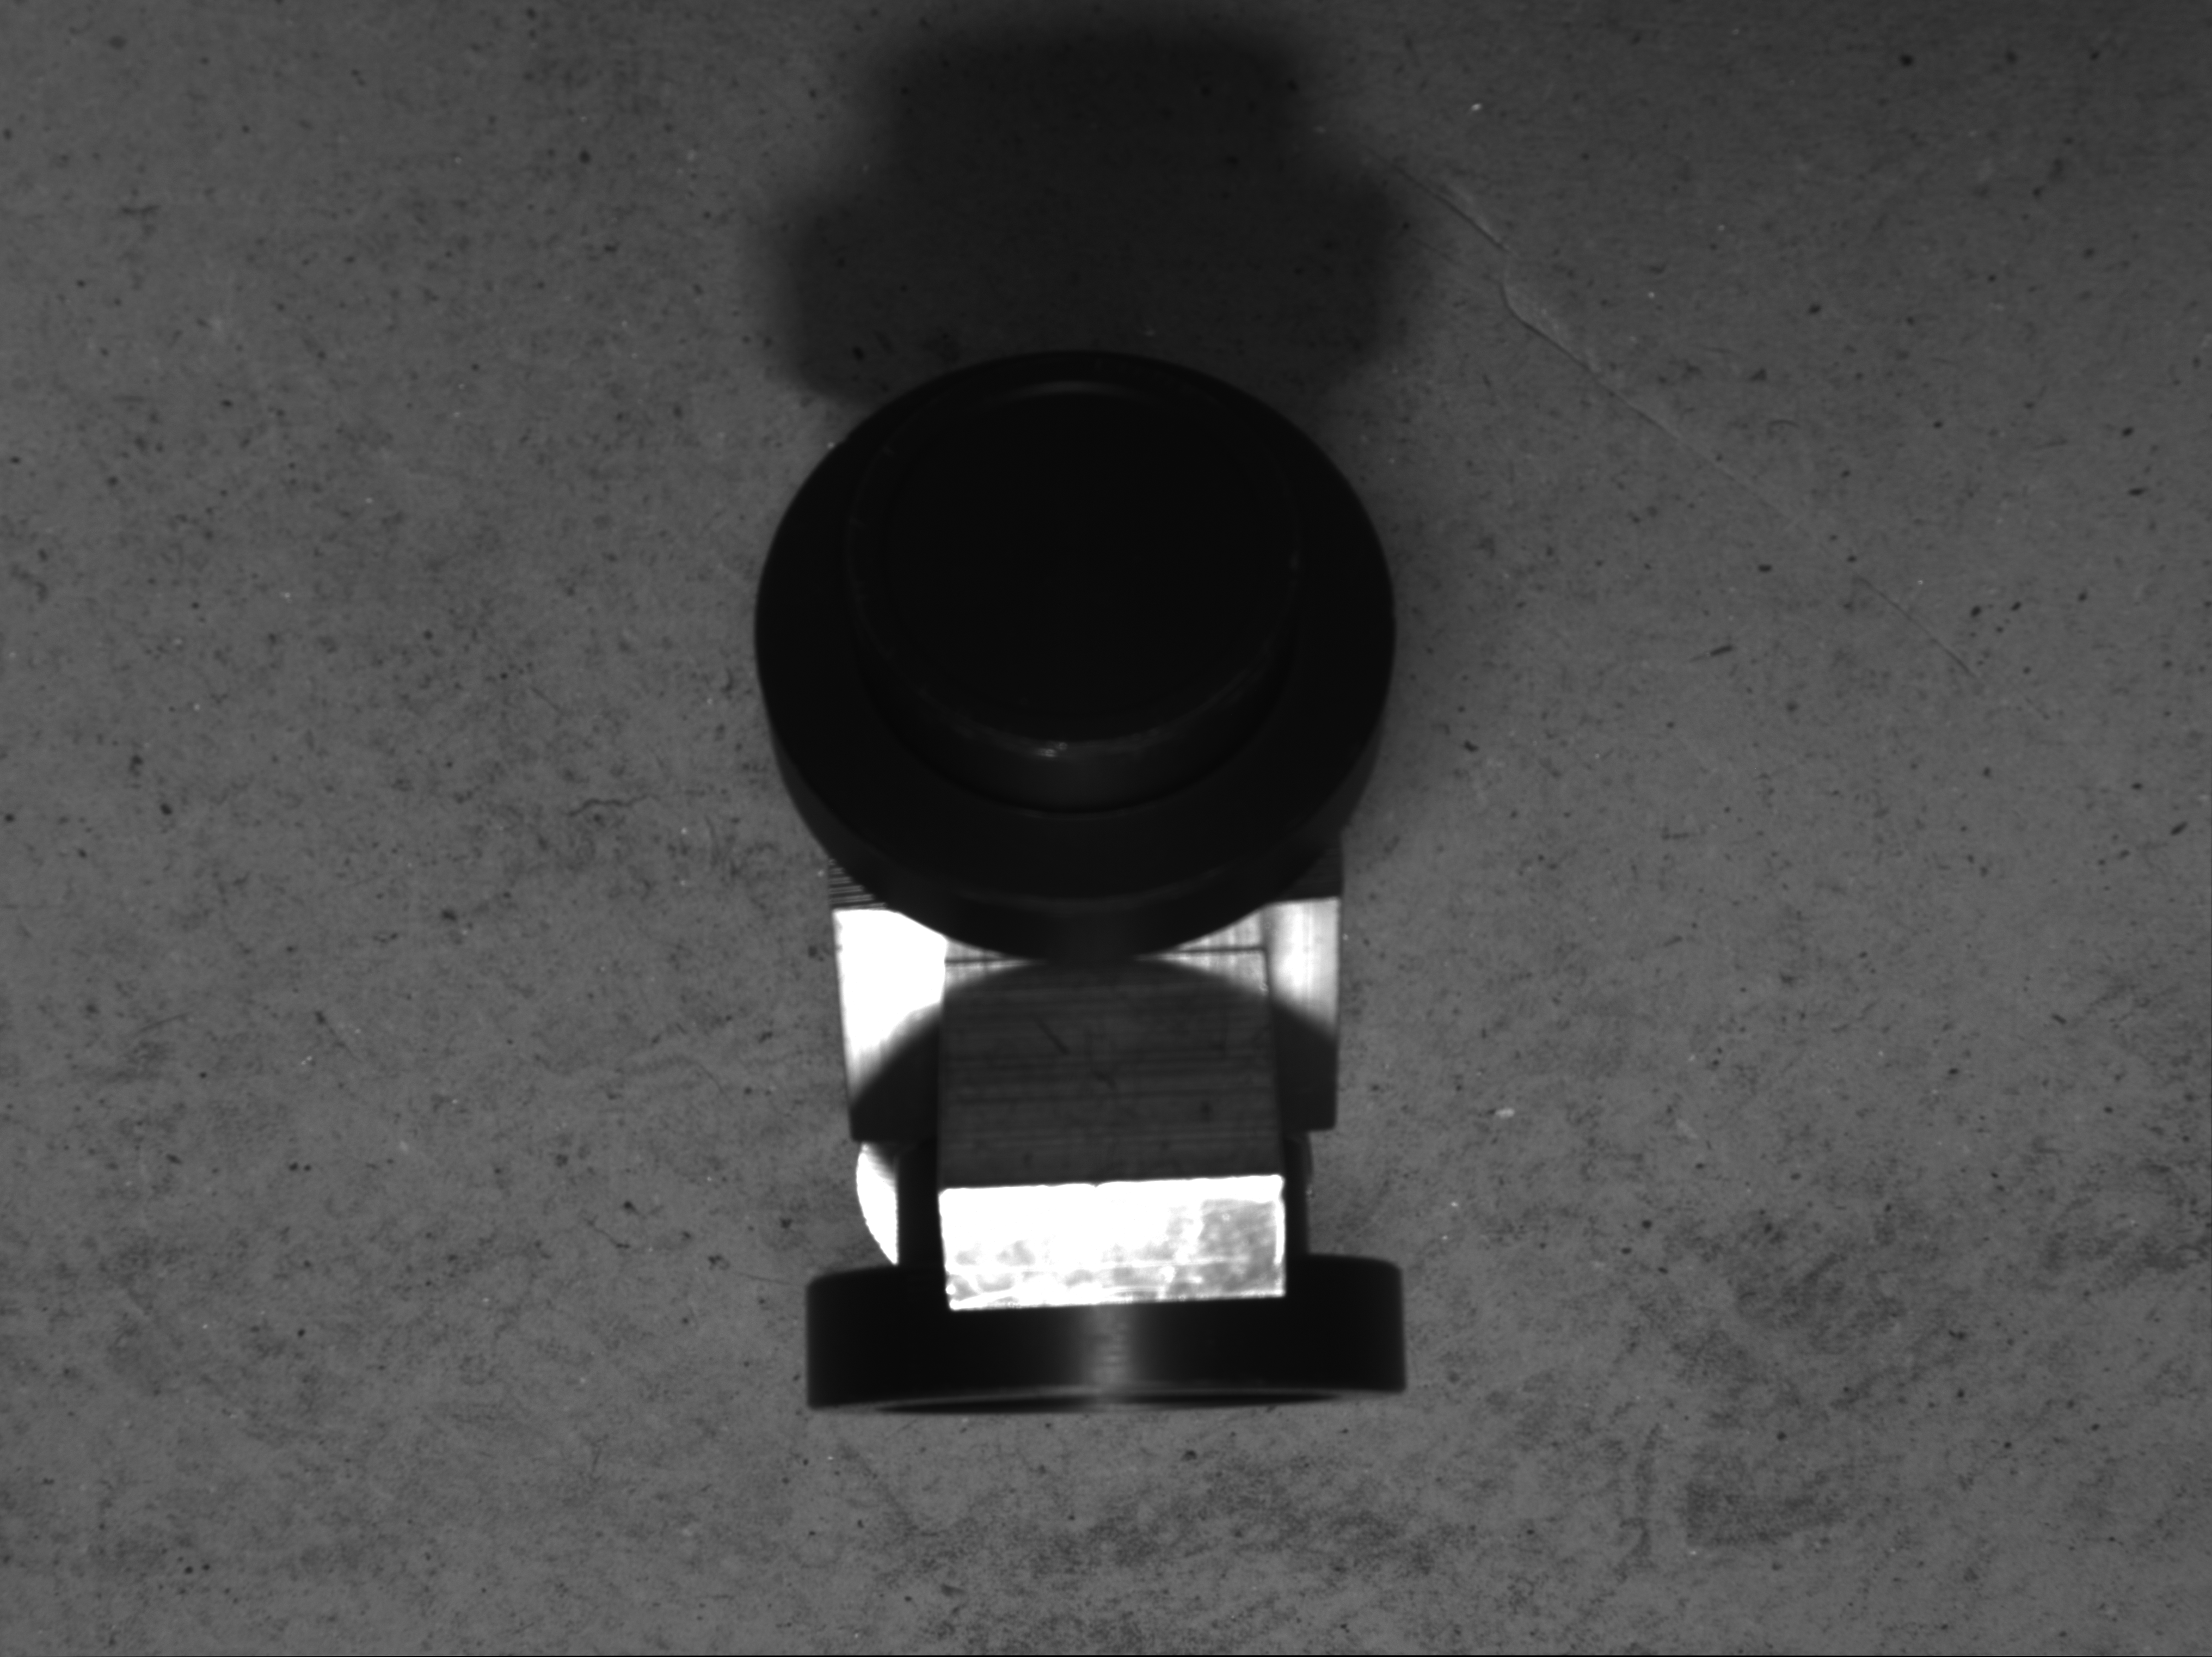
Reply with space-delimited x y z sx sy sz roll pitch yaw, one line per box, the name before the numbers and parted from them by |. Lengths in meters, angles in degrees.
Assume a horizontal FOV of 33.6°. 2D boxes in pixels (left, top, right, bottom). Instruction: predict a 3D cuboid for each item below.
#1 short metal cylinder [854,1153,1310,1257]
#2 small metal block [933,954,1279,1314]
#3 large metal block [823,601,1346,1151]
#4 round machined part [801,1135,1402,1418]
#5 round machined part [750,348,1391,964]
short metal cylinder | -0.005 0.046 0.662 0.080 0.050 0.080 -1 130 -1
small metal block | 0.000 0.046 0.556 0.050 0.050 0.025 -2 130 0
large metal block | -0.004 0.006 0.607 0.080 0.080 0.050 -2 130 0
round machined part | -0.001 0.074 0.603 0.098 0.042 0.098 -1 168 0
round machined part | -0.005 -0.032 0.559 0.098 0.098 0.042 -2 155 0
